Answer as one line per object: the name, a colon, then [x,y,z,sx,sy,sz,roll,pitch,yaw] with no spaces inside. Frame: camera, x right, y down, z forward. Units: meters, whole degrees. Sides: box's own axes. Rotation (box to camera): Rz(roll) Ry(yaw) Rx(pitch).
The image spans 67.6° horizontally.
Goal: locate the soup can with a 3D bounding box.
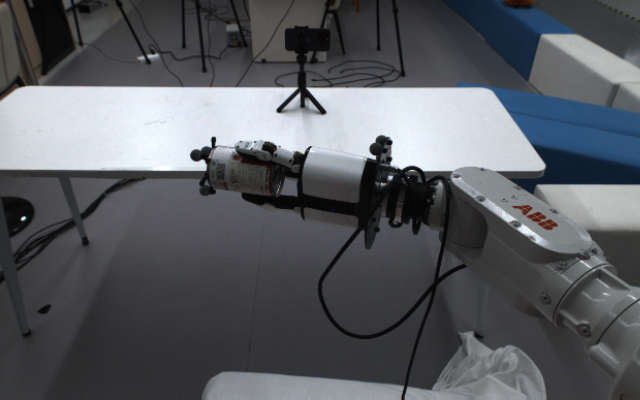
soup can: [-0.108,-0.042,0.723,0.101,0.067,0.067,8,35,9]
